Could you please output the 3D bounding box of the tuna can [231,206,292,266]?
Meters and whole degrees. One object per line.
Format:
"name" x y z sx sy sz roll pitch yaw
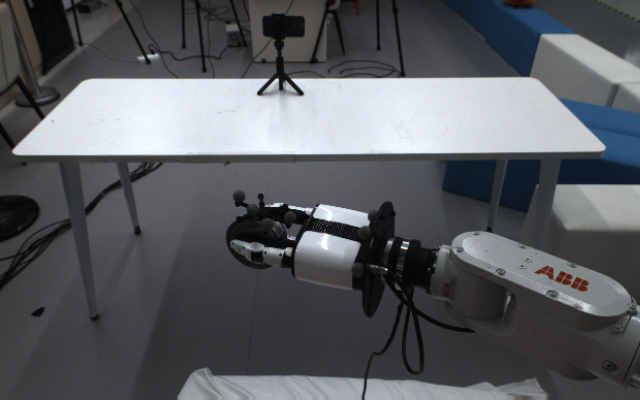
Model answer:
"tuna can" -0.090 0.058 0.709 0.085 0.085 0.034 12 30 15
